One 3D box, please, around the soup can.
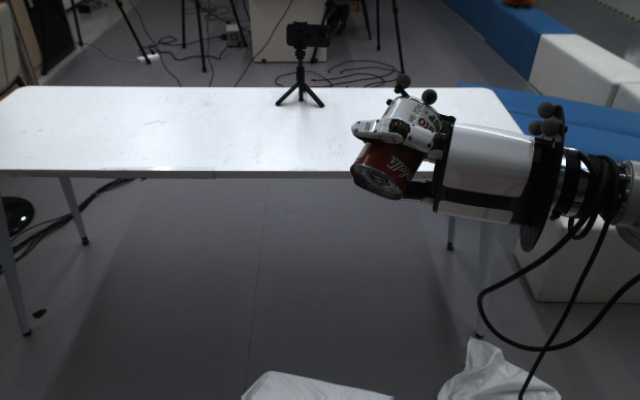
[{"bbox_3d":[0.090,-0.060,0.556,0.067,0.067,0.101,23,73,28],"label":"soup can"}]
